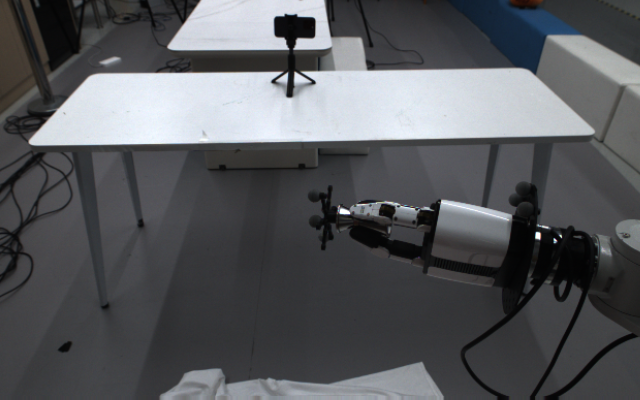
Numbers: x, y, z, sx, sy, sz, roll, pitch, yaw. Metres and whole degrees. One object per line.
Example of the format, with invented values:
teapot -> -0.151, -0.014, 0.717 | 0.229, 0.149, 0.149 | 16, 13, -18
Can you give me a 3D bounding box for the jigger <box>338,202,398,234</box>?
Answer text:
jigger -> 0.066, 0.022, 0.638 | 0.071, 0.043, 0.043 | 2, 34, 15
